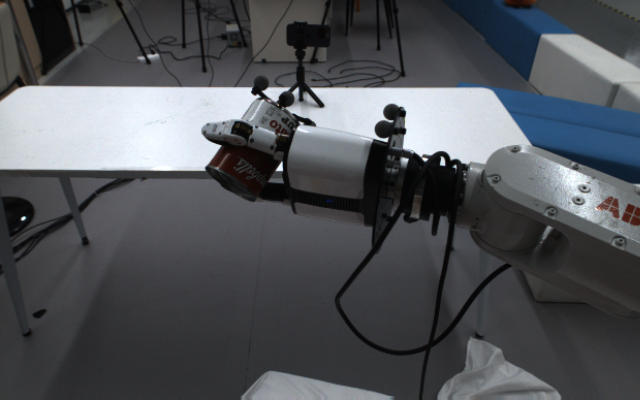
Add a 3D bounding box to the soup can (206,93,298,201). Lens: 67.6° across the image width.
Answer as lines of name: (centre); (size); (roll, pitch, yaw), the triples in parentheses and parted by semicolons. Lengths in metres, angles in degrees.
soup can: (-0.074, -0.057, 0.555); (0.067, 0.067, 0.101); (24, 73, 28)
